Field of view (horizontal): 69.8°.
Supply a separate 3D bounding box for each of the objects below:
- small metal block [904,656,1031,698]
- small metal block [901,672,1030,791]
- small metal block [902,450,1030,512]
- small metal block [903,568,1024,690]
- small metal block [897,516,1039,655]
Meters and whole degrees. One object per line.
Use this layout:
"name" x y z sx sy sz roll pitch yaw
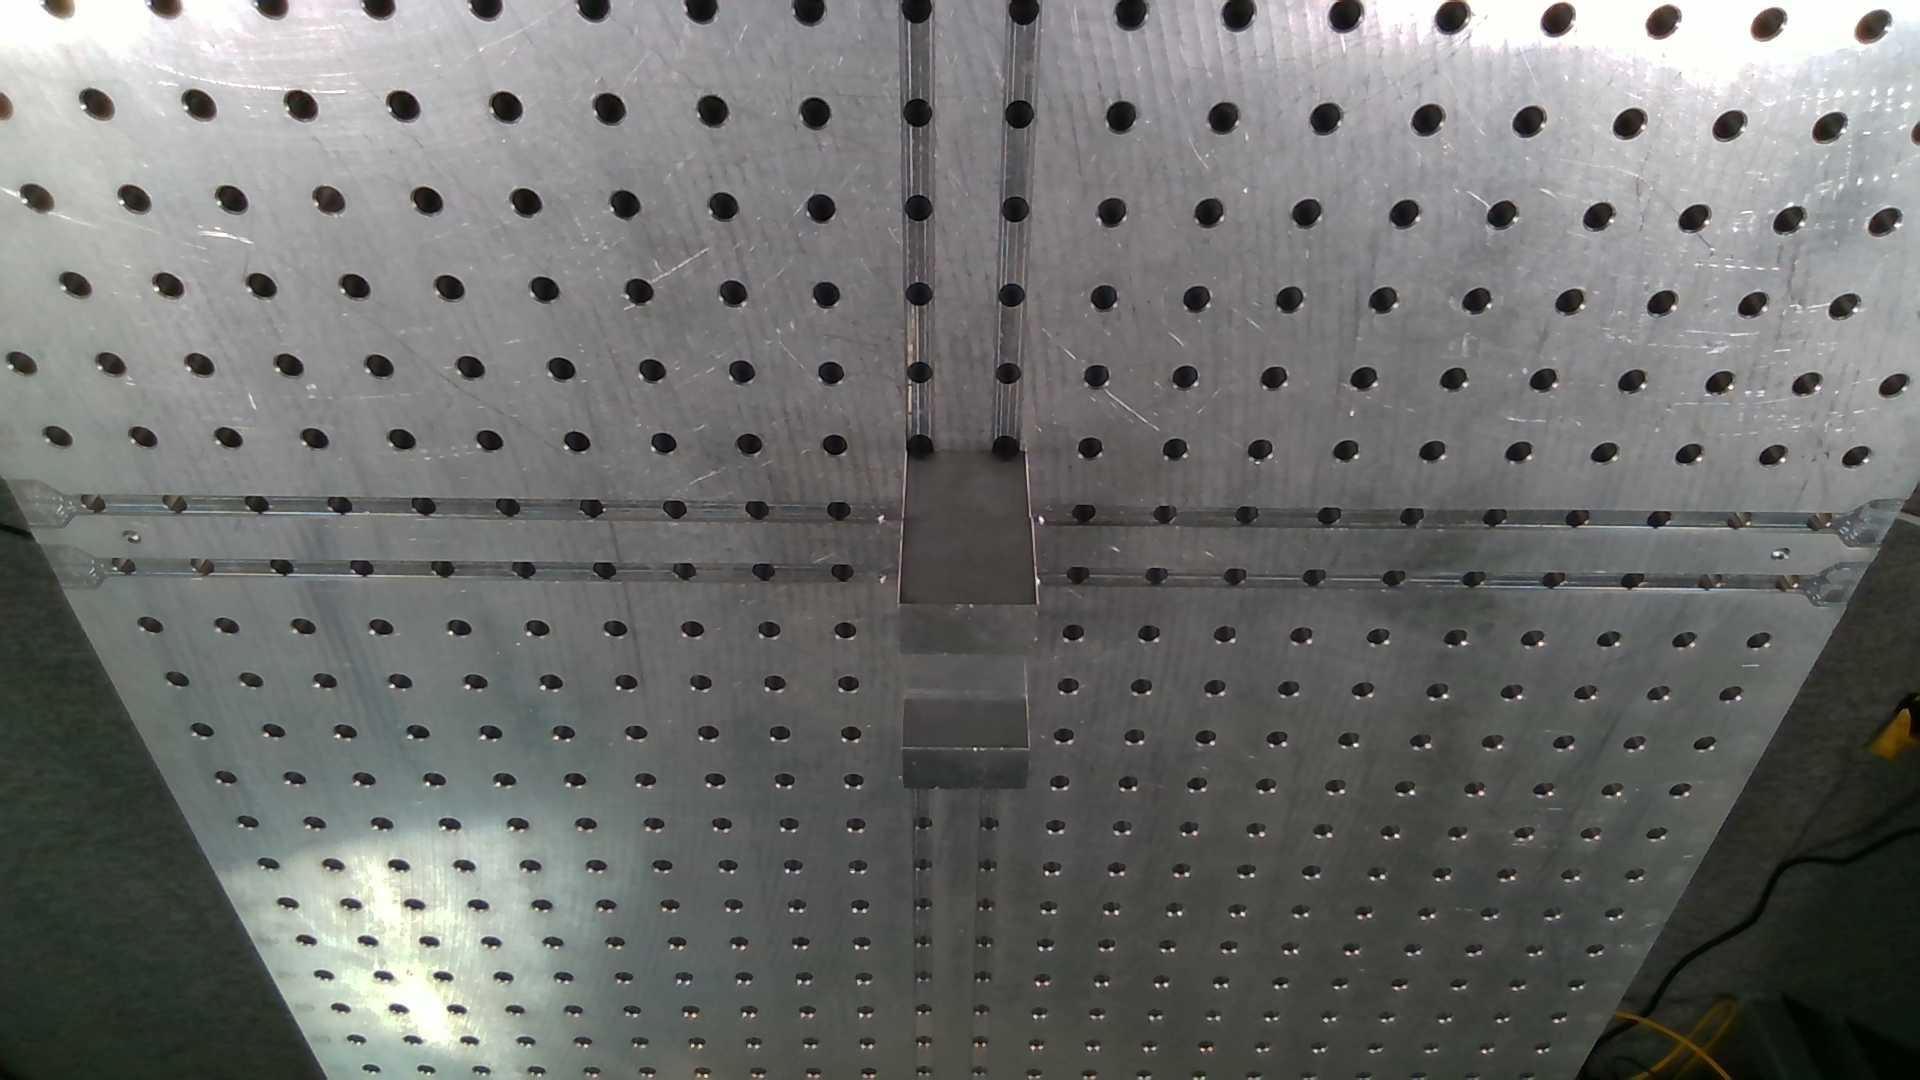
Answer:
"small metal block" 0.003 0.036 0.548 0.050 0.025 0.050 1 130 0
"small metal block" 0.002 0.075 0.562 0.050 0.050 0.025 0 130 -1
"small metal block" 0.002 -0.011 0.556 0.050 0.050 0.025 0 130 0
"small metal block" 0.002 0.038 0.598 0.050 0.050 0.025 -1 130 1
"small metal block" 0.003 0.017 0.514 0.050 0.050 0.025 0 130 -1
